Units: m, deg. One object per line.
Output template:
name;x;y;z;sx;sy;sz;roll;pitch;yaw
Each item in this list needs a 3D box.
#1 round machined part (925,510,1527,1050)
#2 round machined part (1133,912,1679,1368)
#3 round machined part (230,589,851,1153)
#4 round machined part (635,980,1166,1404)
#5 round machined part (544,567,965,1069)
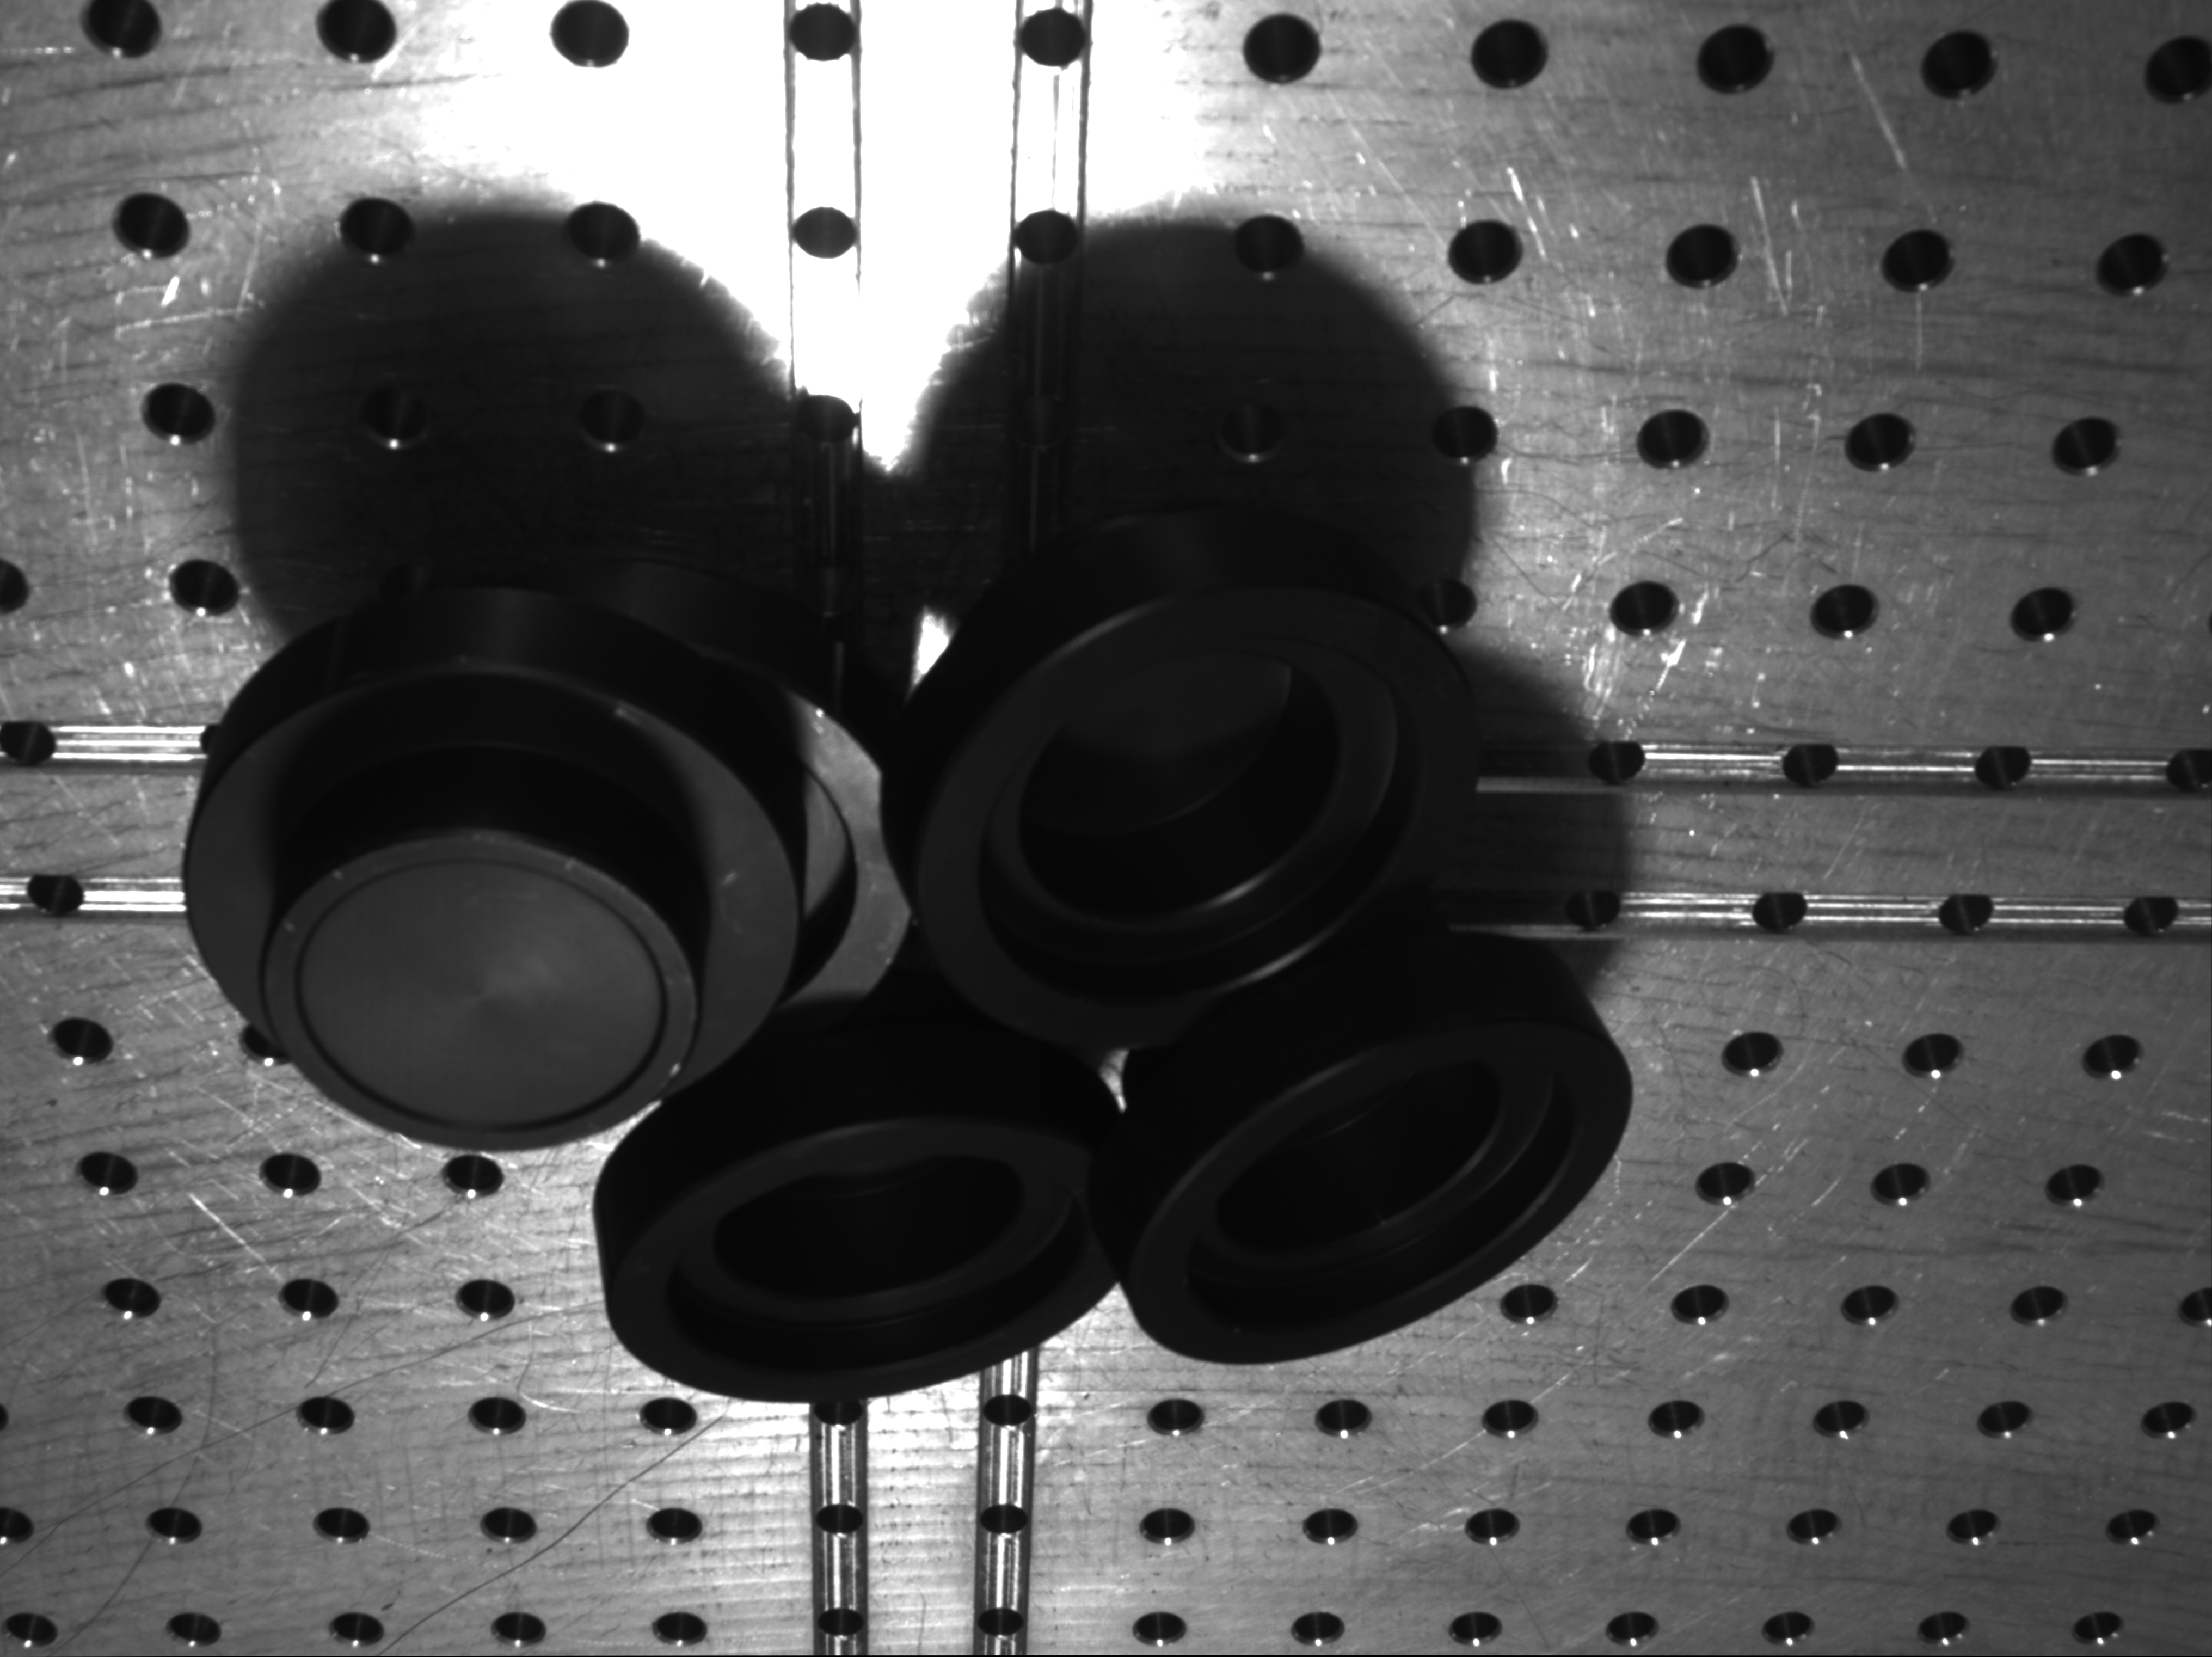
round machined part;0.017;-0.013;0.608;0.098;0.042;0.098;-12;133;-13
round machined part;0.050;0.051;0.660;0.098;0.042;0.098;-17;143;-13
round machined part;-0.090;0.013;0.583;0.098;0.042;0.098;-1;130;-1
round machined part;-0.037;0.063;0.671;0.098;0.042;0.098;-9;145;-6
round machined part;-0.073;-0.005;0.623;0.098;0.042;0.098;-1;130;-1
